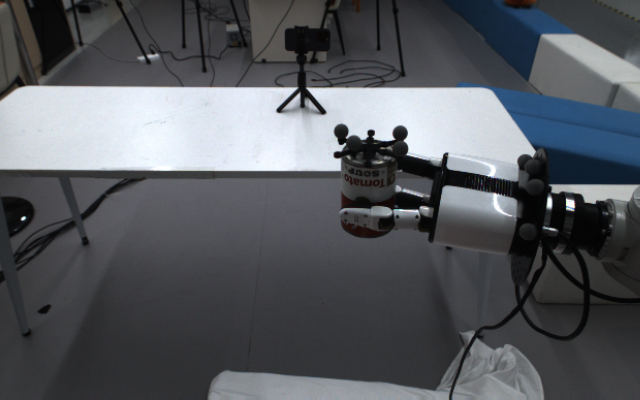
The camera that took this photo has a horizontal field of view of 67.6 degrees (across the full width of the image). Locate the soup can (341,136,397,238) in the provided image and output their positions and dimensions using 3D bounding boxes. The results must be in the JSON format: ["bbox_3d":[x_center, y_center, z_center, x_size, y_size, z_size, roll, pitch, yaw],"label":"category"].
[{"bbox_3d":[0.061,-0.016,0.590,0.067,0.101,0.067,-2,34,1],"label":"soup can"}]
